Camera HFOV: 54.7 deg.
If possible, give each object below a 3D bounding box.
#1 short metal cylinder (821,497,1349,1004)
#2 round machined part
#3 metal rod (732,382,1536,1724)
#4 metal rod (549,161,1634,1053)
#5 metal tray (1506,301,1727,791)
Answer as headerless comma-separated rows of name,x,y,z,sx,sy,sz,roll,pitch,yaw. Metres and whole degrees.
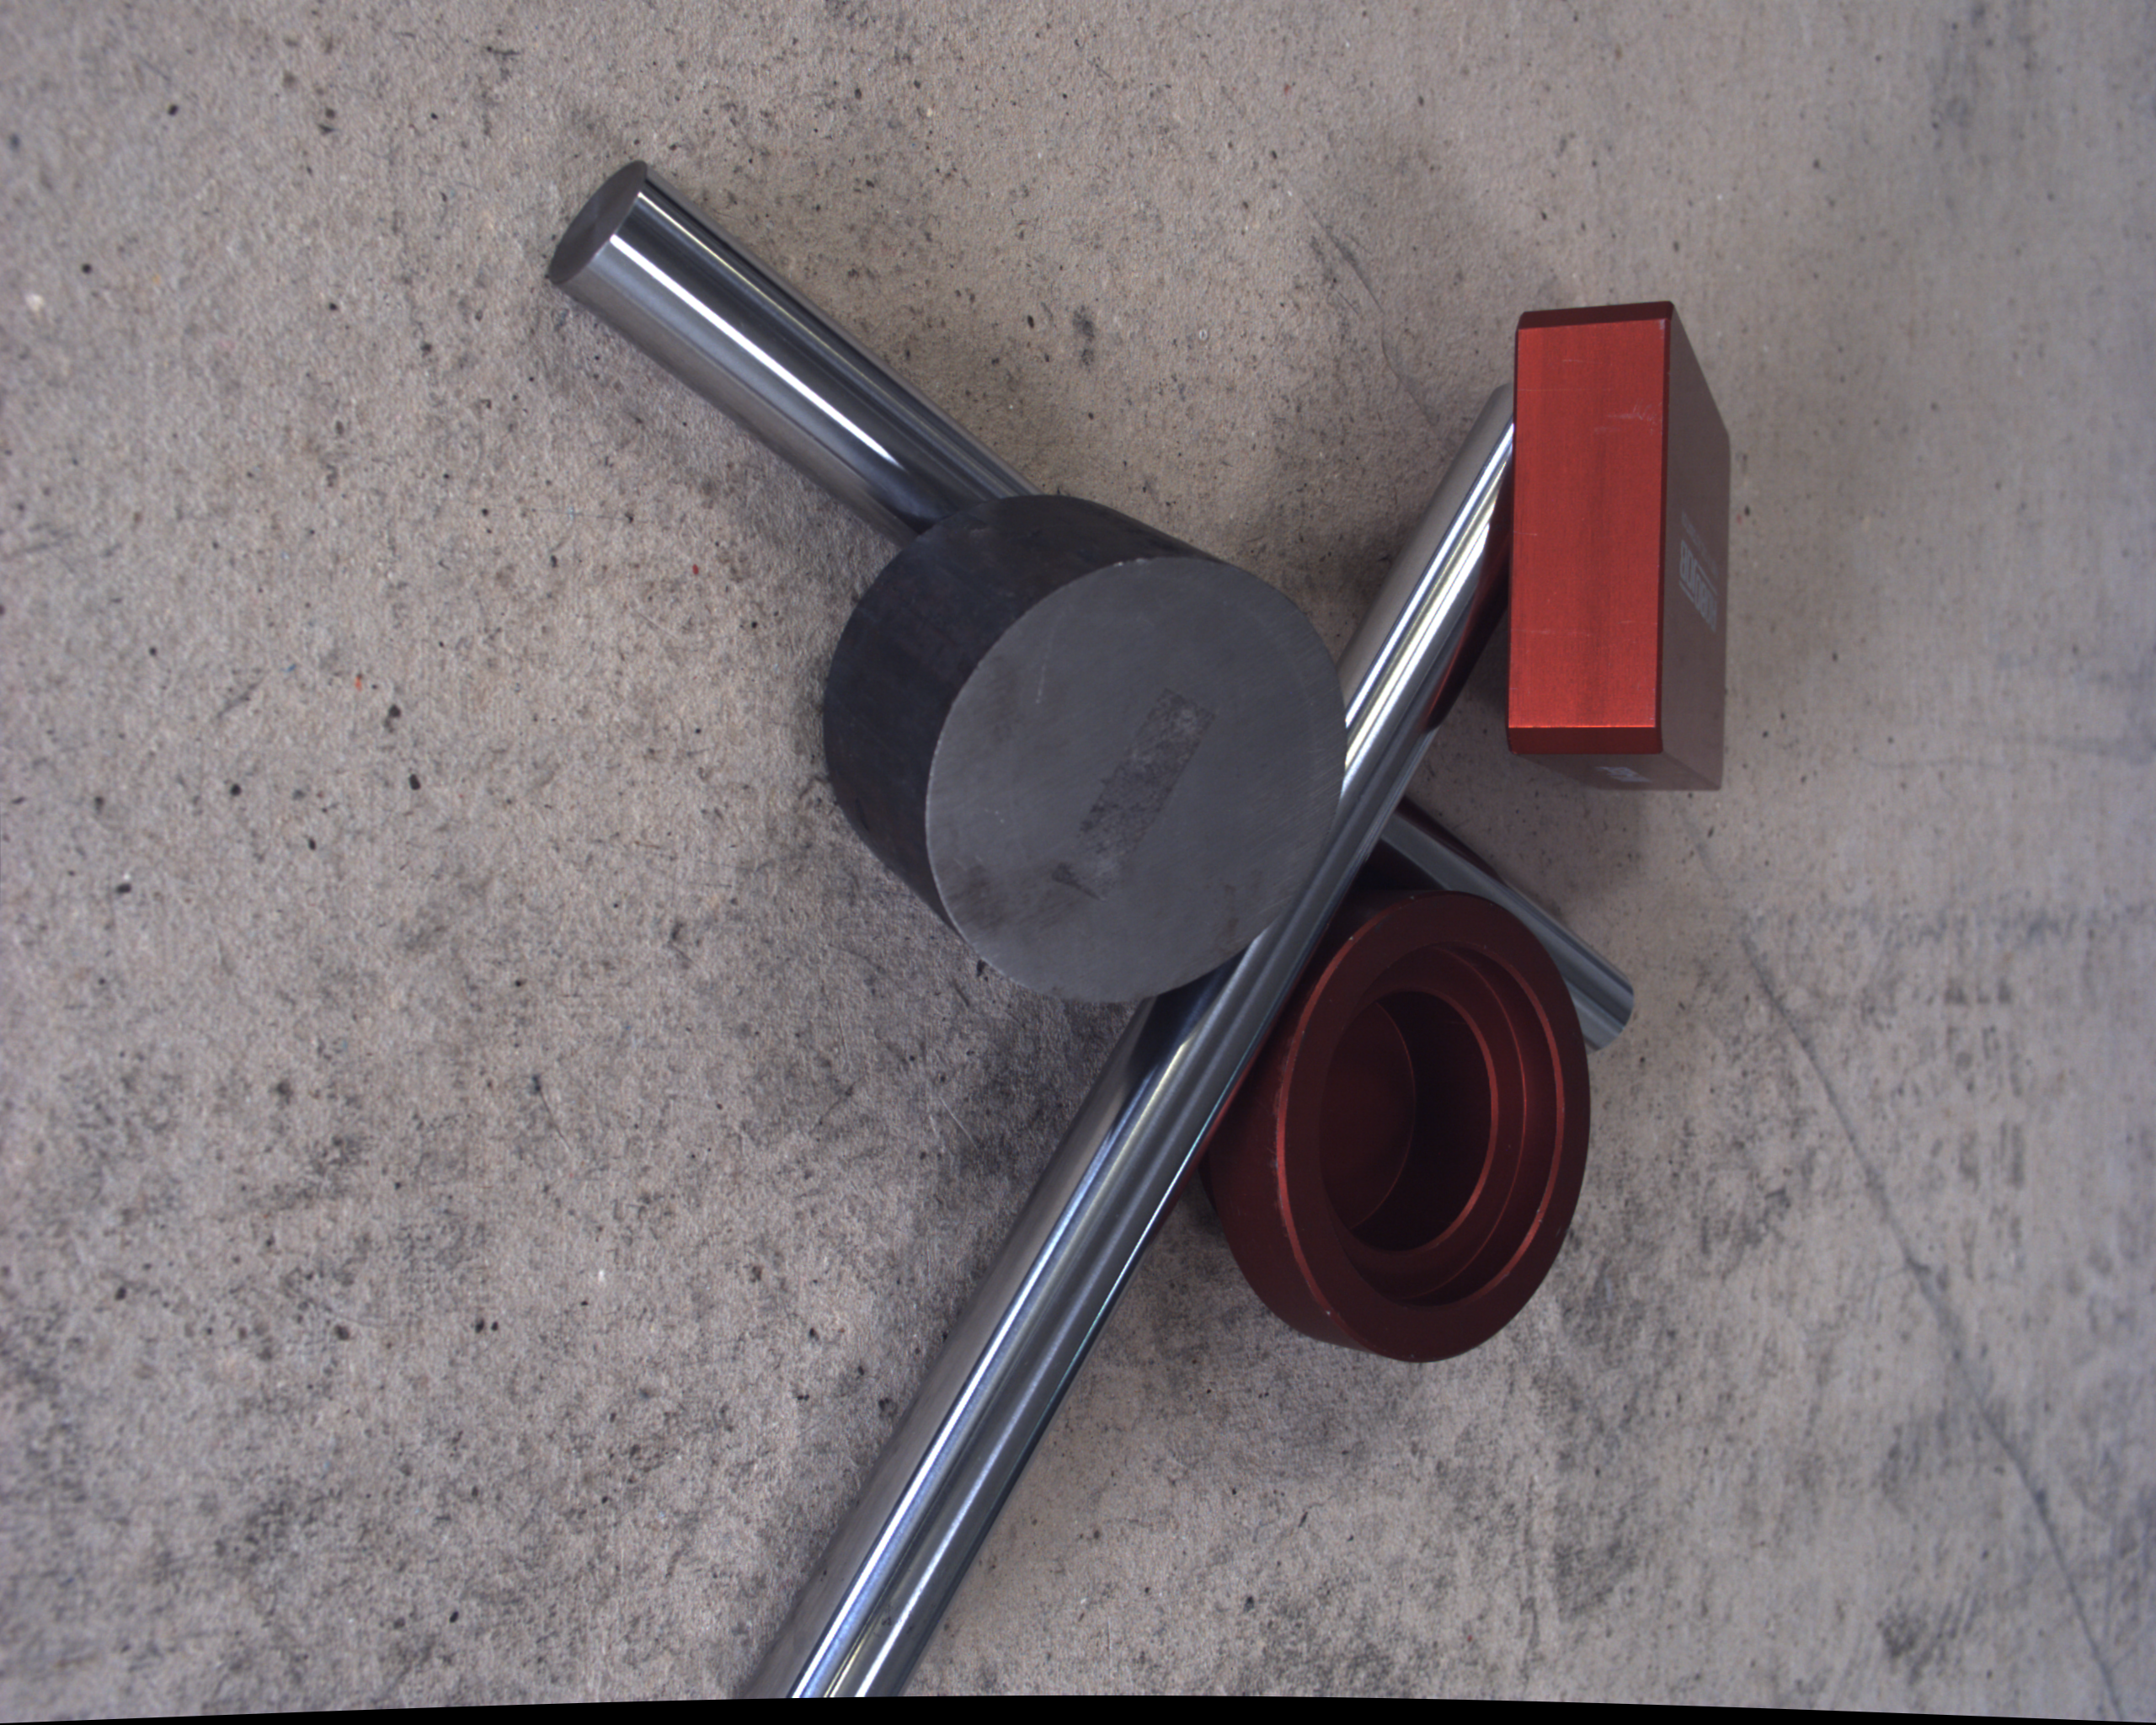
short metal cylinder,0.001,-0.021,0.373,0.081,0.050,0.079,-11,115,-24
round machined part,0.063,0.055,0.448,0.099,0.042,0.097,0,90,-40
metal rod,0.024,0.030,0.404,0.025,0.025,0.300,41,72,-33
metal rod,0.023,-0.034,0.426,0.301,0.025,0.025,35,69,-35
metal tray,0.125,-0.065,0.470,0.130,0.030,0.089,4,87,-68
